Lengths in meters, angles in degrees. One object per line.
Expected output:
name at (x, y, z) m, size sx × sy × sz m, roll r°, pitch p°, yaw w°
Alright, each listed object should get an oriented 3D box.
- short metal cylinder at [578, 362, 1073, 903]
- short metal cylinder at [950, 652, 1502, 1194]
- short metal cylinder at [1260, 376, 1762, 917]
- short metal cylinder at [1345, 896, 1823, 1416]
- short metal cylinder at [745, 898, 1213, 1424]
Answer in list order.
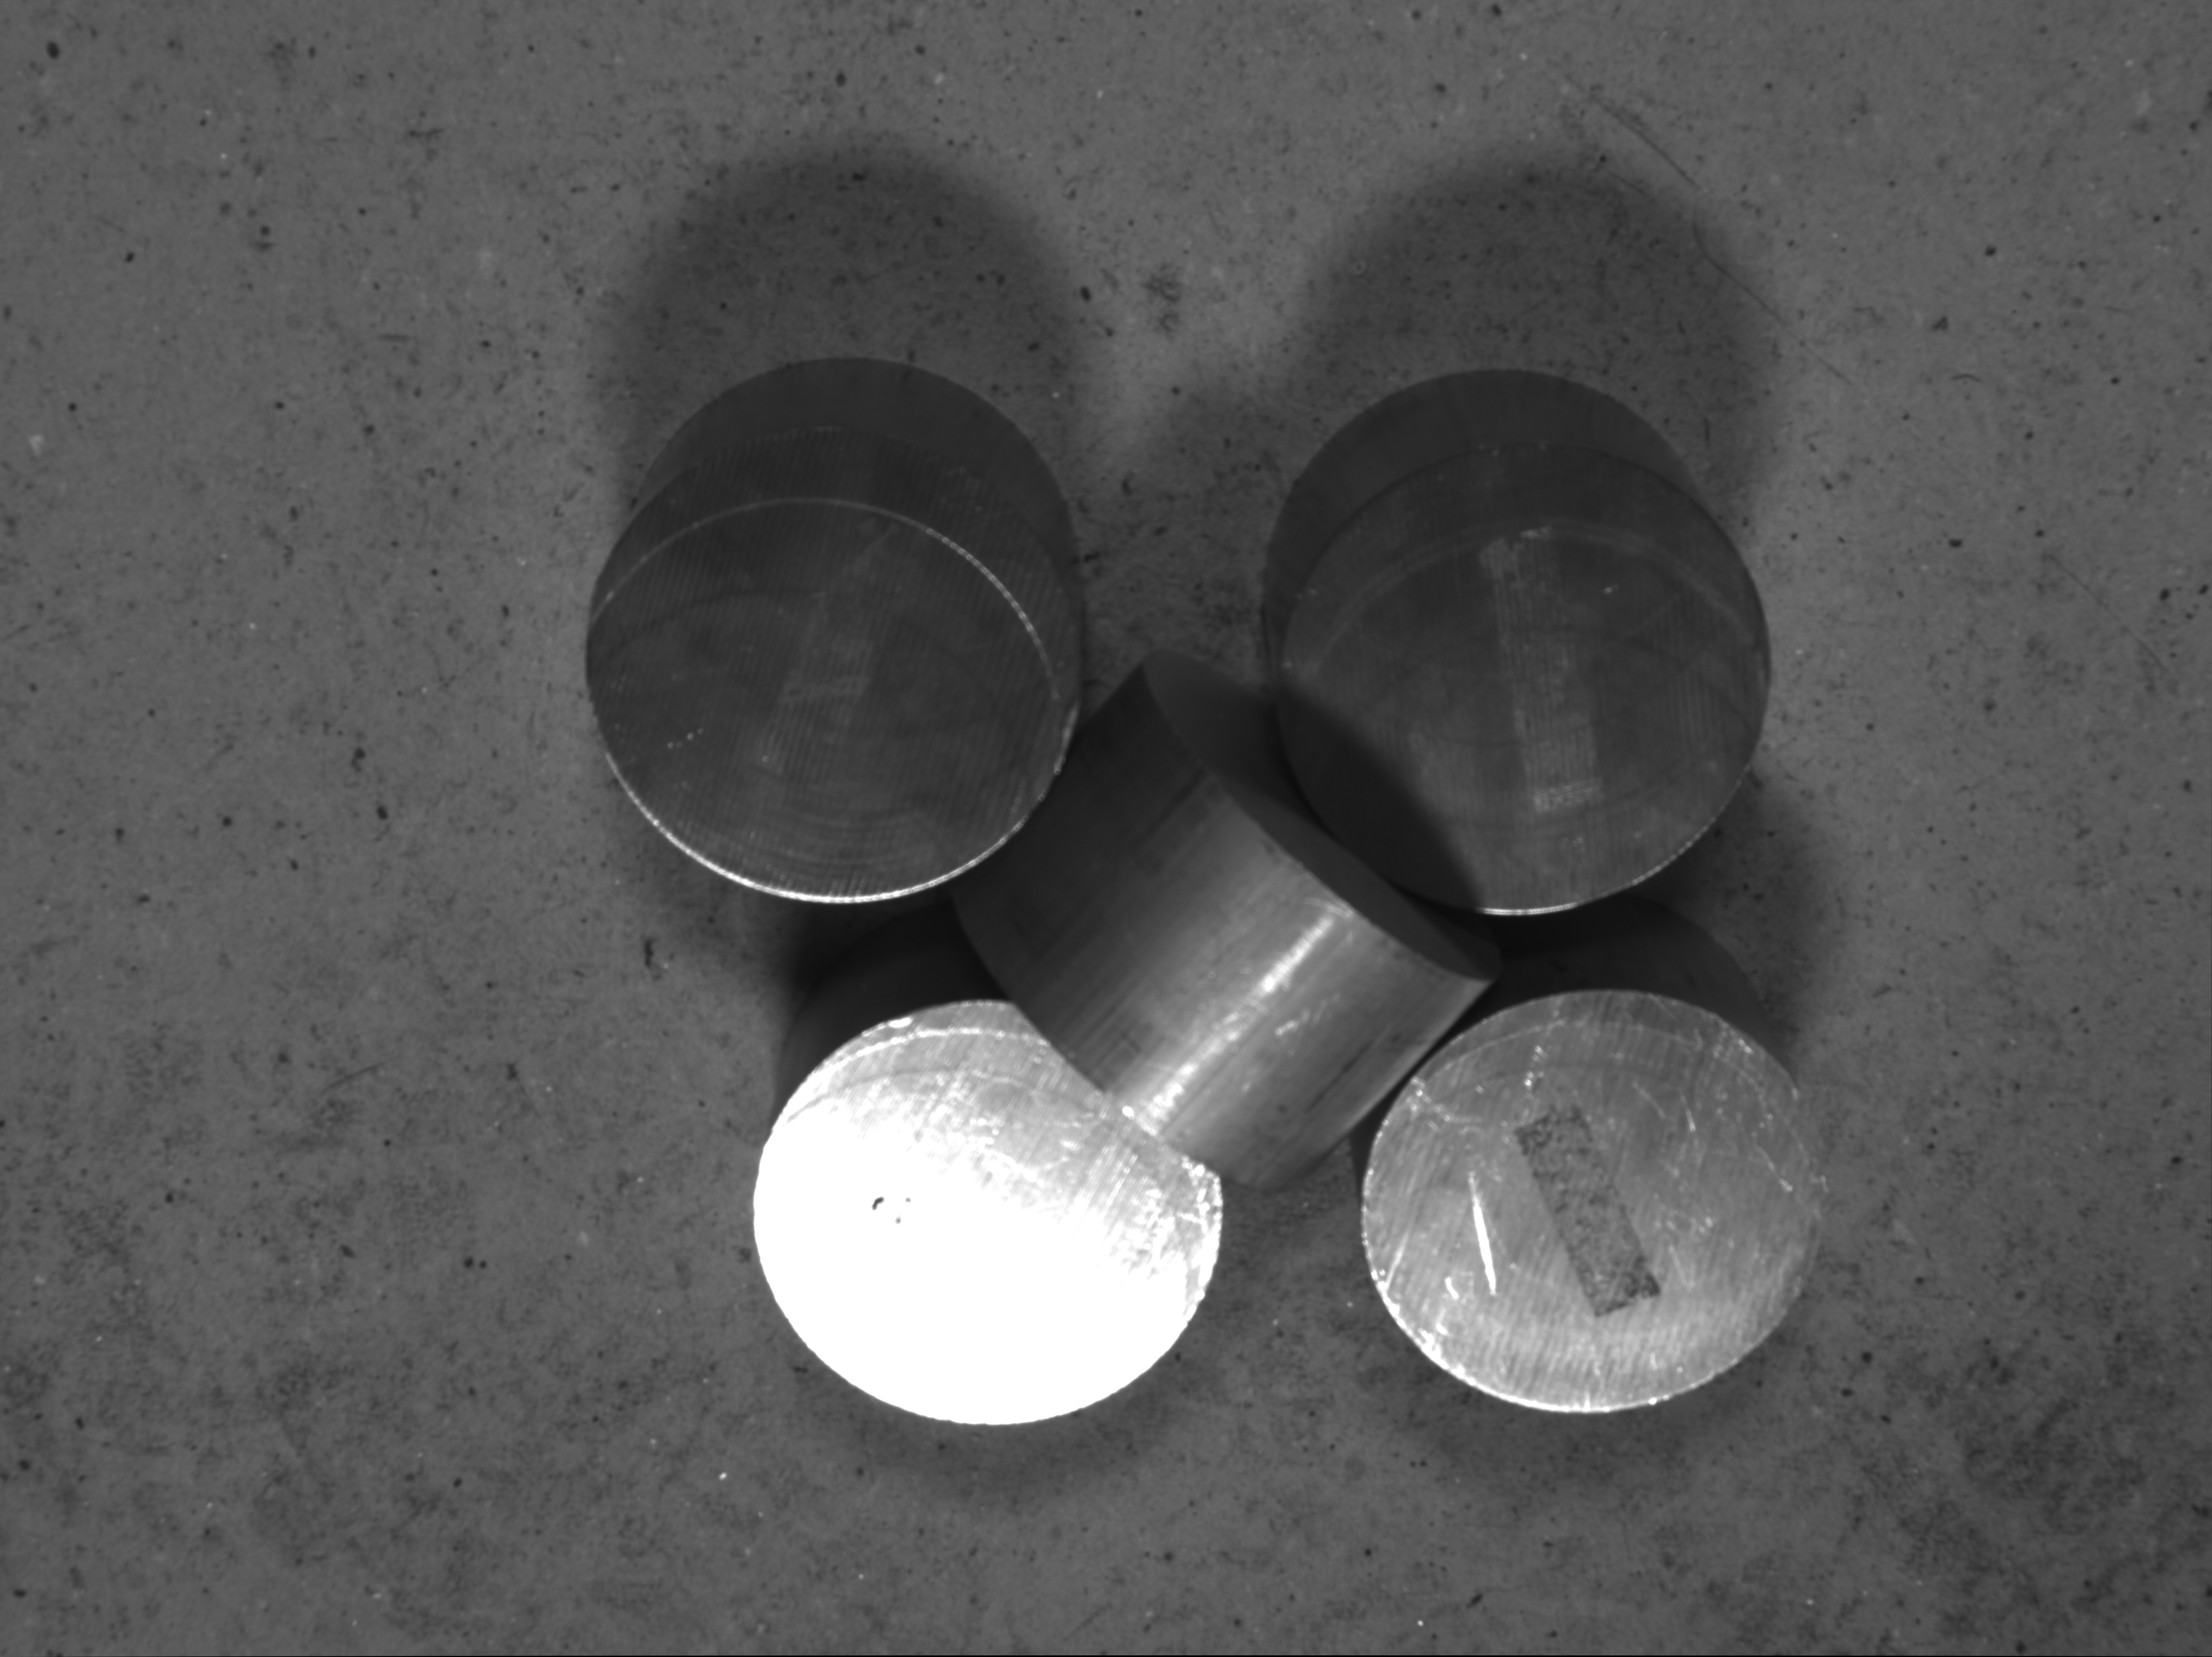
short metal cylinder at (-0.045, -0.034, 0.616) m, size 0.080 × 0.050 × 0.080 m, roll 0°, pitch 110°, yaw -1°
short metal cylinder at (0.020, 0.016, 0.620) m, size 0.080 × 0.080 × 0.050 m, roll 38°, pitch 105°, yaw -13°
short metal cylinder at (0.066, -0.031, 0.617) m, size 0.080 × 0.050 × 0.080 m, roll 0°, pitch 110°, yaw -1°
short metal cylinder at (0.083, 0.057, 0.650) m, size 0.080 × 0.050 × 0.080 m, roll 0°, pitch 110°, yaw -1°
short metal cylinder at (-0.022, 0.058, 0.650) m, size 0.080 × 0.050 × 0.080 m, roll 0°, pitch 110°, yaw -1°
